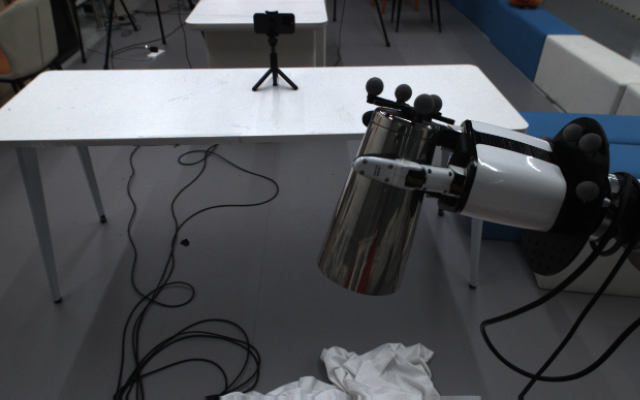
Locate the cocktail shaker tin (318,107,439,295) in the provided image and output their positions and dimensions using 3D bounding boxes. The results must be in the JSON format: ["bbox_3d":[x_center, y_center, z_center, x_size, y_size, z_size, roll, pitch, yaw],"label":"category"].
[{"bbox_3d":[0.065,-0.003,0.492,0.093,0.170,0.093,14,18,-5],"label":"cocktail shaker tin"}]
